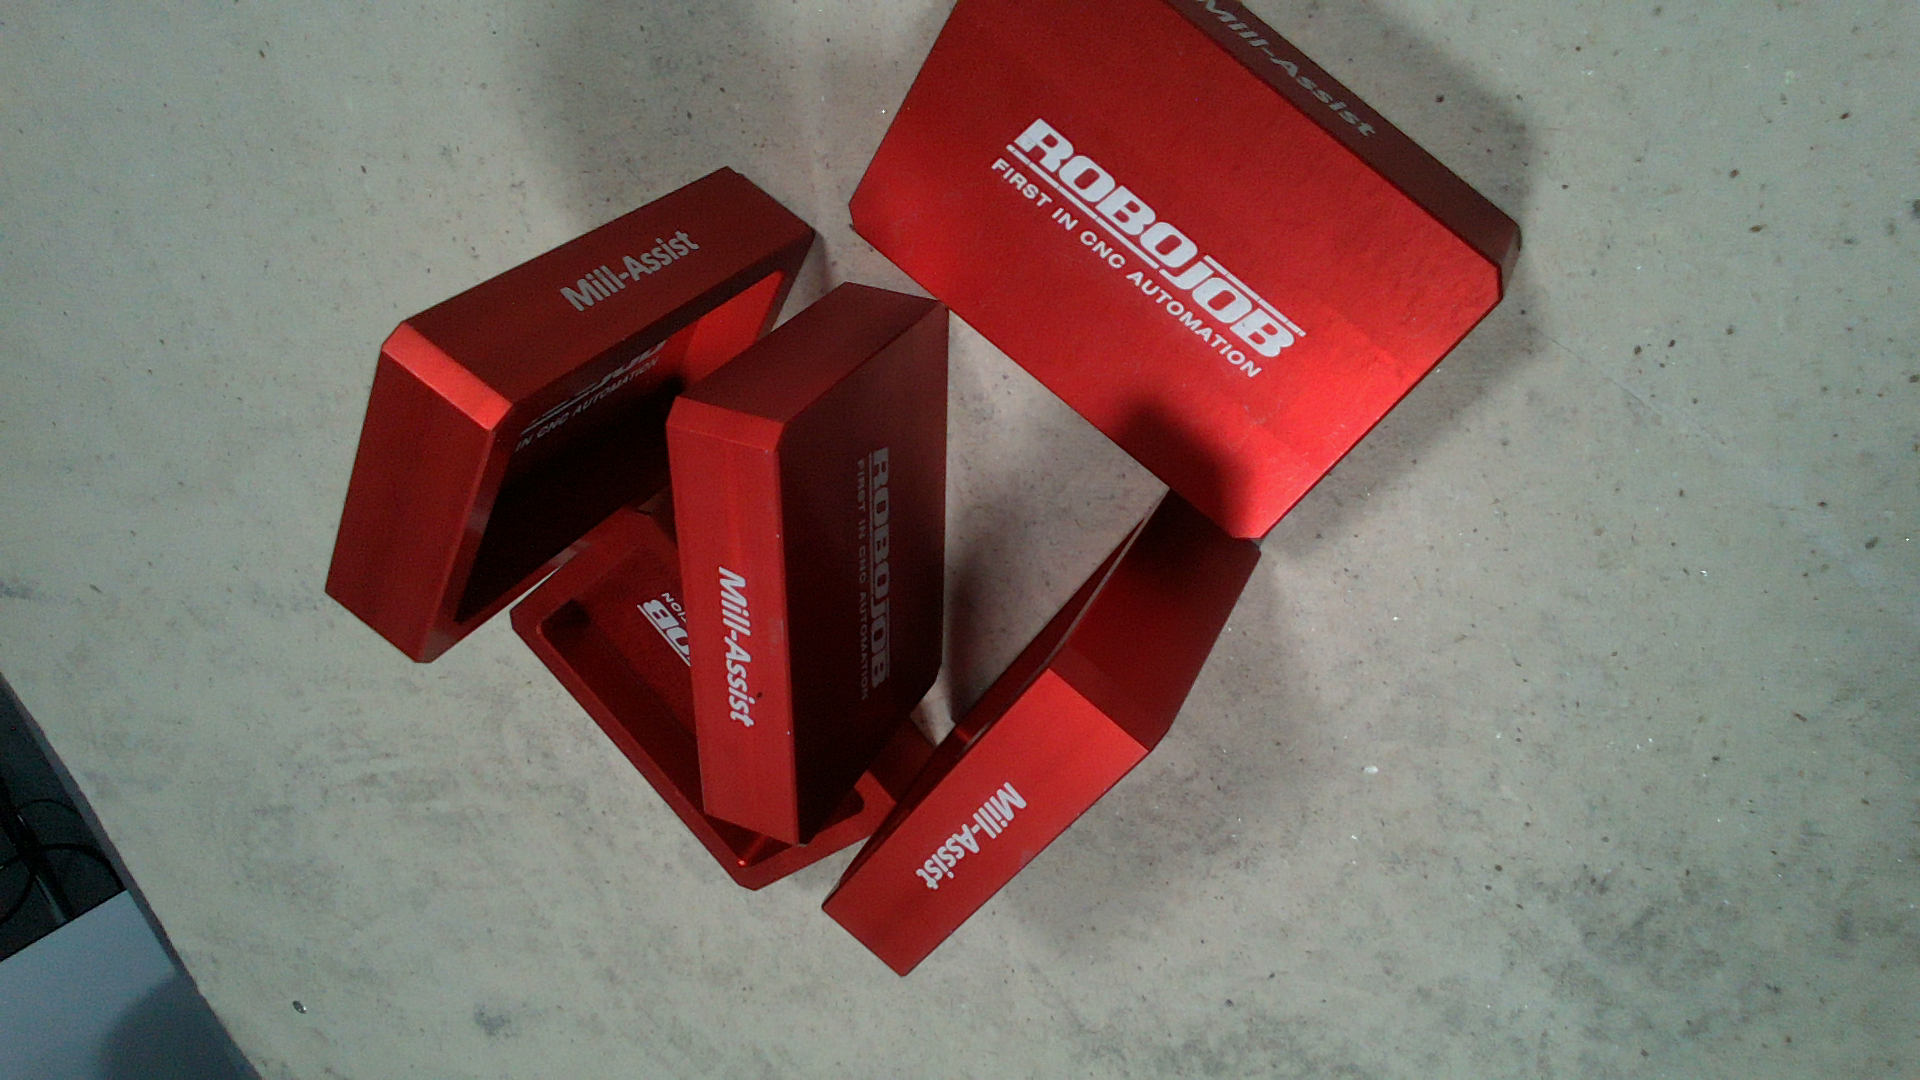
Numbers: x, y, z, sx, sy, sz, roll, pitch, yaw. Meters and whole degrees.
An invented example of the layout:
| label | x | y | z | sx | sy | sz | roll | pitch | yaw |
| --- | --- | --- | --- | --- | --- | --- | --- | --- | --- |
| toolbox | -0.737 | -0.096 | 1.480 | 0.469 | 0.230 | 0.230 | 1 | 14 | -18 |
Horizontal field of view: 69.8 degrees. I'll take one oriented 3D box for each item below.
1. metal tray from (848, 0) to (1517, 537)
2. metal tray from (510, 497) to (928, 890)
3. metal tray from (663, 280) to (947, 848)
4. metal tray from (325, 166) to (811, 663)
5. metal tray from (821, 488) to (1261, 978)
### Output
| label | x | y | z | sx | sy | sz | roll | pitch | yaw |
| --- | --- | --- | --- | --- | --- | --- | --- | --- | --- |
| metal tray | 0.048 | -0.073 | 0.319 | 0.130 | 0.030 | 0.090 | 39 | 129 | 2 |
| metal tray | -0.081 | 0.050 | 0.464 | 0.090 | 0.030 | 0.130 | -33 | 100 | 38 |
| metal tray | -0.037 | 0.006 | 0.374 | 0.030 | 0.090 | 0.130 | 15 | 125 | 20 |
| metal tray | -0.097 | -0.036 | 0.355 | 0.030 | 0.130 | 0.090 | 37 | 129 | 3 |
| metal tray | 0.021 | 0.053 | 0.372 | 0.030 | 0.090 | 0.130 | 39 | 129 | 2 |
